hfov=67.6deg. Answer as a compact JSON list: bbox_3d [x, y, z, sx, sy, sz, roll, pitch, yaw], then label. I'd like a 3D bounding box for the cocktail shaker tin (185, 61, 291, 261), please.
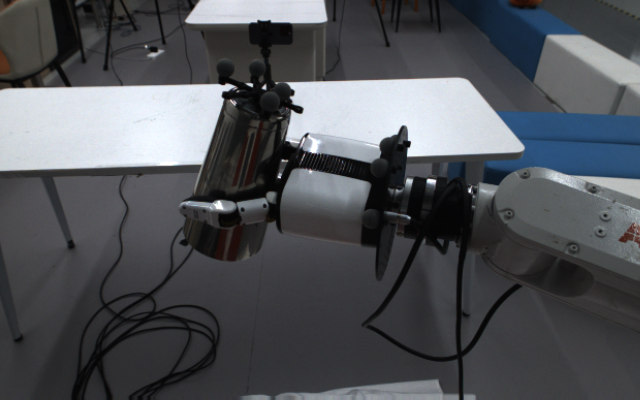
[{"bbox_3d":[-0.083,-0.029,0.515,0.093,0.170,0.093,15,31,-10],"label":"cocktail shaker tin"}]
